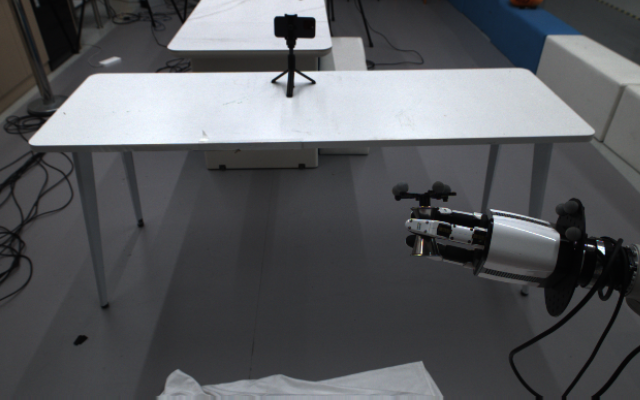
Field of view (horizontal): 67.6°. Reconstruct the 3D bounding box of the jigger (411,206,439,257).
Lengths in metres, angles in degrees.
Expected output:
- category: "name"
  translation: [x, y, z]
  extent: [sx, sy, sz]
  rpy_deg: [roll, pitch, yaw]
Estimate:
- category: "jigger"
  translation: [0.147, 0.044, 0.683]
  extent: [0.043, 0.071, 0.043]
  rpy_deg: [1, -5, 0]
